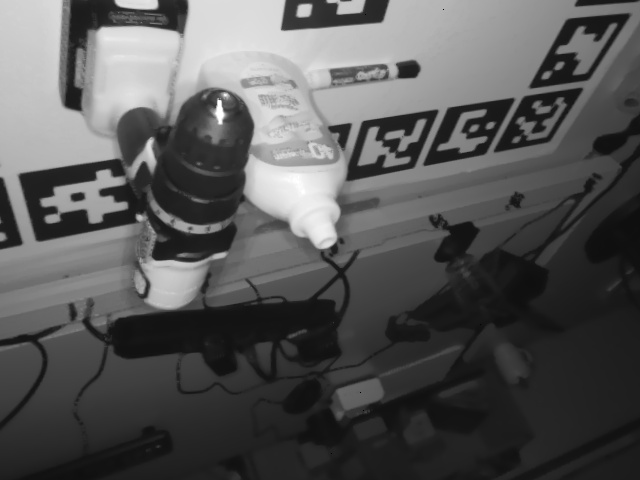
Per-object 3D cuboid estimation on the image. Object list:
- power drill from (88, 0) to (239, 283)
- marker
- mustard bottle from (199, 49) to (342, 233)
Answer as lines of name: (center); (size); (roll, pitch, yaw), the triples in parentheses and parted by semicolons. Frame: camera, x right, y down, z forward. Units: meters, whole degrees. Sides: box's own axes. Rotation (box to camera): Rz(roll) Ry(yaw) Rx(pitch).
power drill: (-0.117, -0.087, 0.497); (0.058, 0.187, 0.181); (-2, 144, -30)
marker: (0.049, -0.170, 0.692); (0.123, 0.019, 0.019); (-12, 145, -22)
mustard bottle: (-0.035, -0.083, 0.594); (0.097, 0.191, 0.057); (-5, 143, -28)
